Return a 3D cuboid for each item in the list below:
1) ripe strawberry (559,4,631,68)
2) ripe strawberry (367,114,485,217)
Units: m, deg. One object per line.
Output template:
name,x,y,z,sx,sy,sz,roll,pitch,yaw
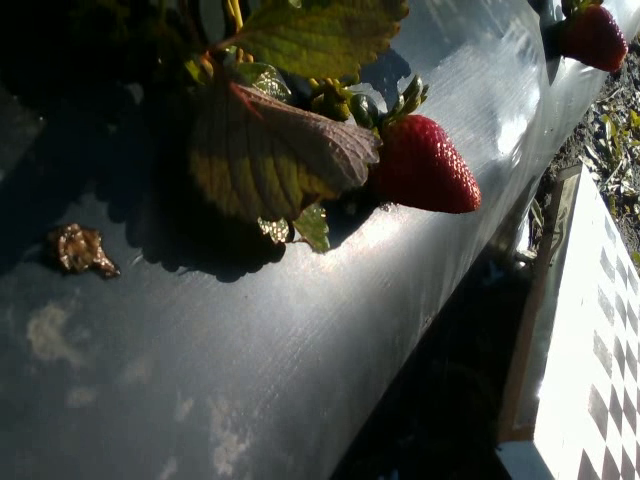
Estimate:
ripe strawberry,0.195,-0.141,0.425,0.042,0.059,0.042,-33,-9,32
ripe strawberry,0.044,-0.028,0.238,0.055,0.042,0.045,37,34,8
